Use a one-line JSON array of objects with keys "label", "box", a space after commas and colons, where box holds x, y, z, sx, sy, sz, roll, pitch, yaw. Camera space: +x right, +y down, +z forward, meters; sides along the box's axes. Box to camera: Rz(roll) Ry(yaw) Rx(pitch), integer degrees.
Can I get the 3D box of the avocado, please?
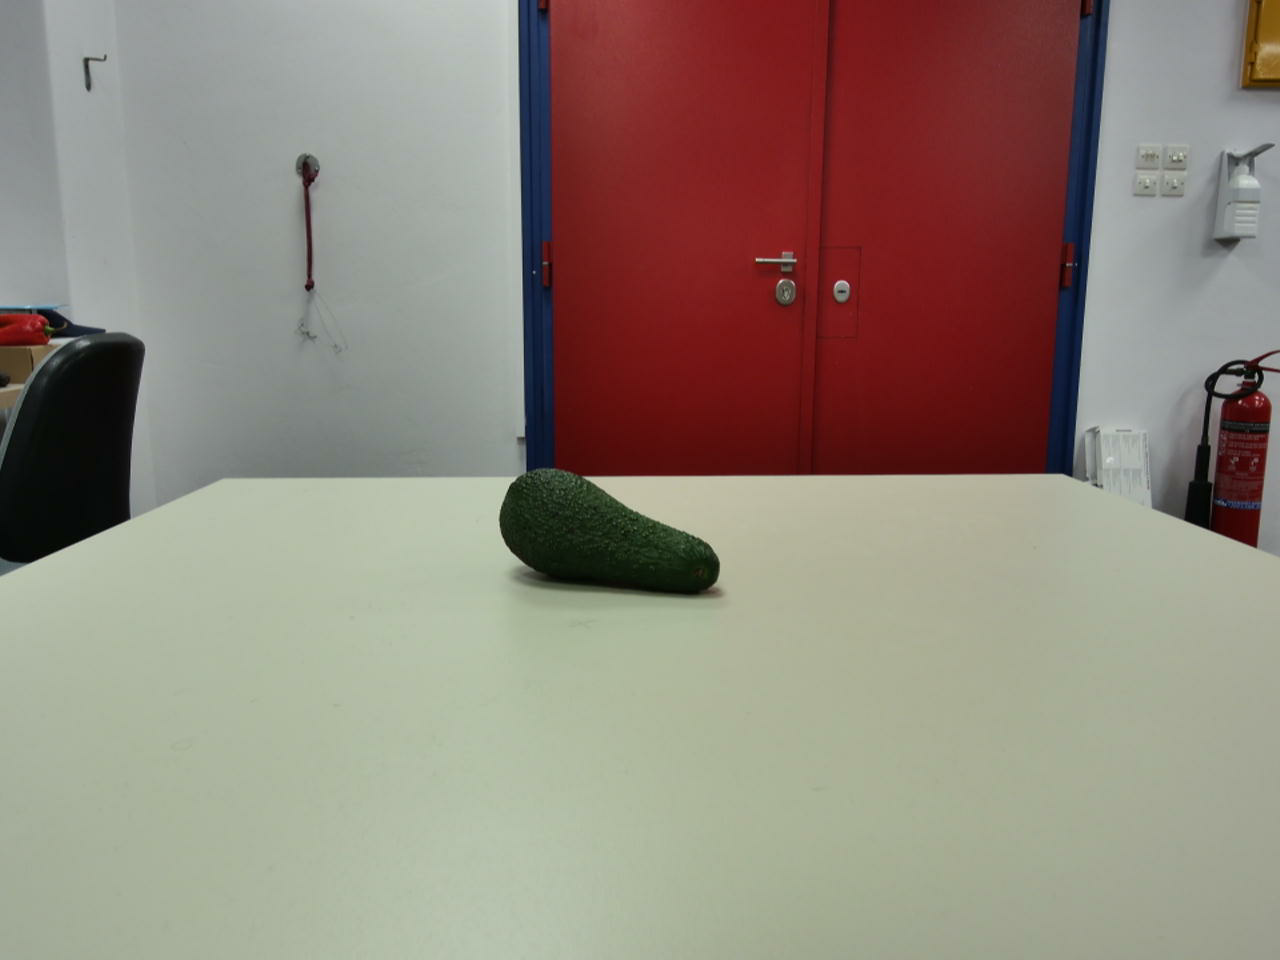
[{"label": "avocado", "box": [-0.018, 0.028, 0.591, 0.141, 0.067, 0.063, 2, 8, 14]}]
